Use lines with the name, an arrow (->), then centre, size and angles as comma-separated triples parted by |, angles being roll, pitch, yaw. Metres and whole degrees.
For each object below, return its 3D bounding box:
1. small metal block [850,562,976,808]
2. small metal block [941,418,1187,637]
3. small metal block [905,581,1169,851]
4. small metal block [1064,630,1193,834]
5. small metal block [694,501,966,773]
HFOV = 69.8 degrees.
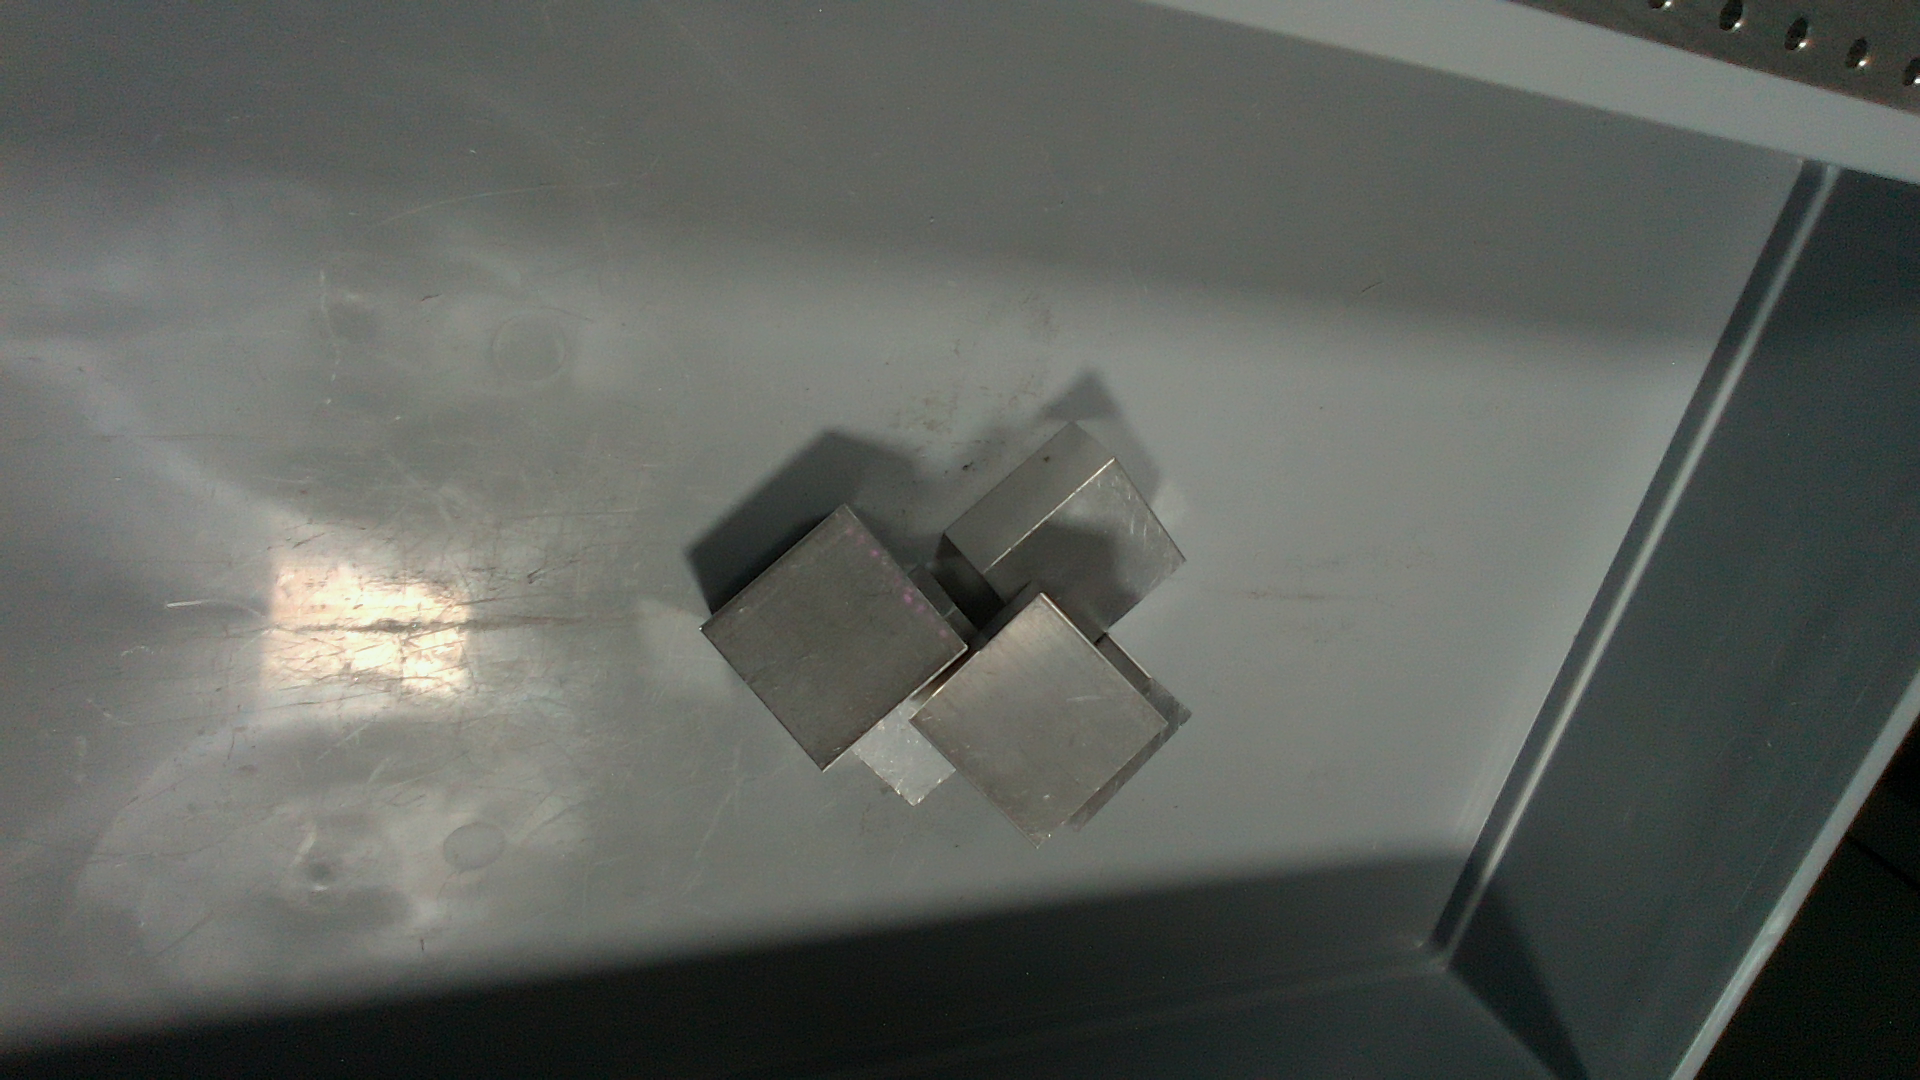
small metal block -> -0.013, 0.043, 0.407 | 0.050, 0.025, 0.050 | -41, 129, 0
small metal block -> 0.031, 0.002, 0.405 | 0.050, 0.025, 0.050 | -41, 129, 0
small metal block -> 0.020, 0.047, 0.380 | 0.050, 0.025, 0.050 | -44, 95, 3
small metal block -> 0.034, 0.052, 0.421 | 0.050, 0.050, 0.025 | -46, 129, 4
small metal block -> -0.034, 0.025, 0.369 | 0.050, 0.025, 0.050 | -41, 91, 0
